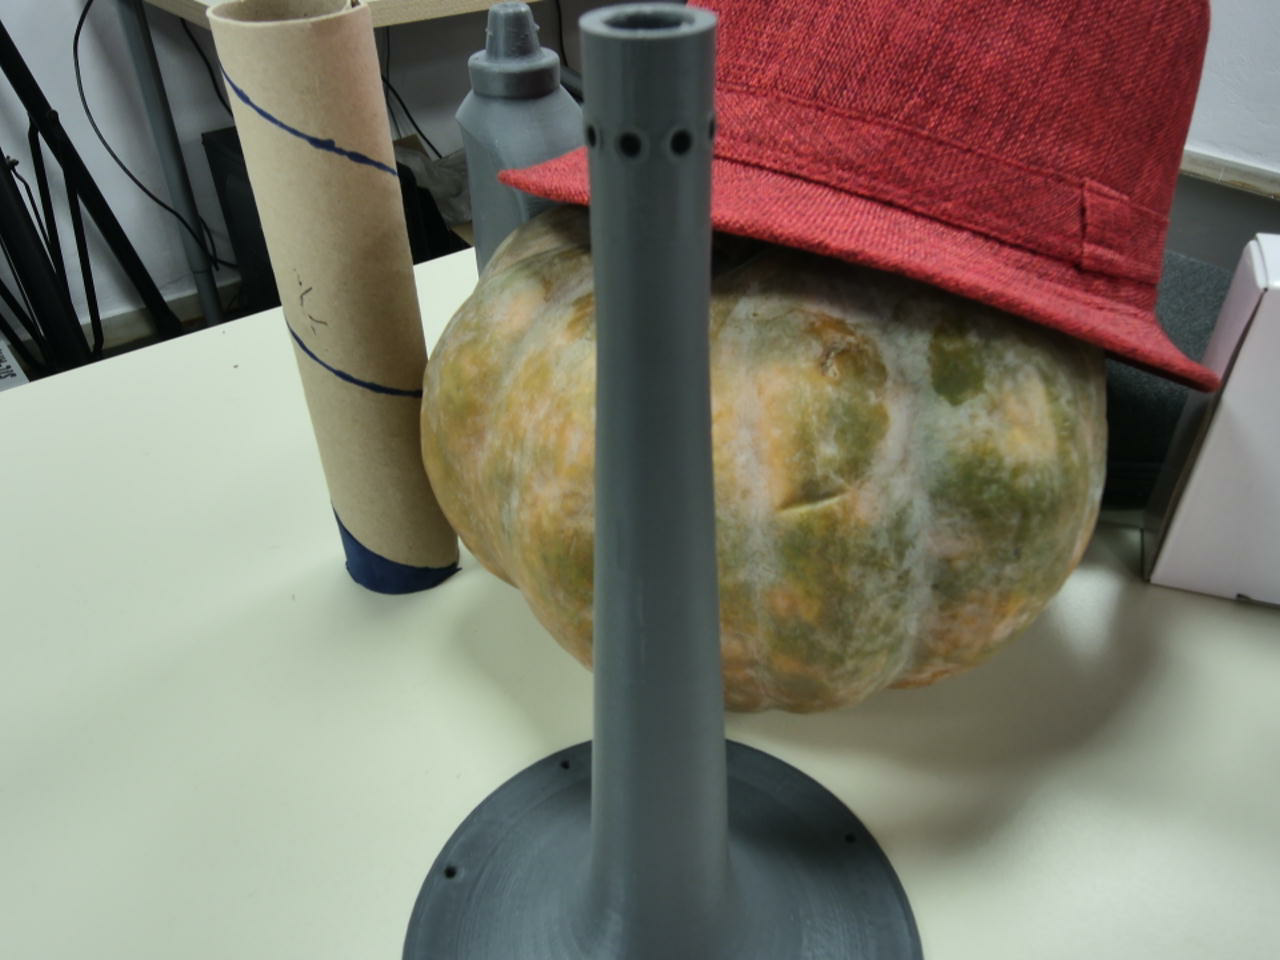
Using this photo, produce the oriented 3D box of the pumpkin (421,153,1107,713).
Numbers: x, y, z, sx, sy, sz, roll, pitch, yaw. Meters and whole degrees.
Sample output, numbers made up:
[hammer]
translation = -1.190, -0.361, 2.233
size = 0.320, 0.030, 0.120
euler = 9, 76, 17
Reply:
[pumpkin]
translation = 0.045, -0.027, 0.375
size = 0.252, 0.169, 0.251
euler = 0, 35, 0
